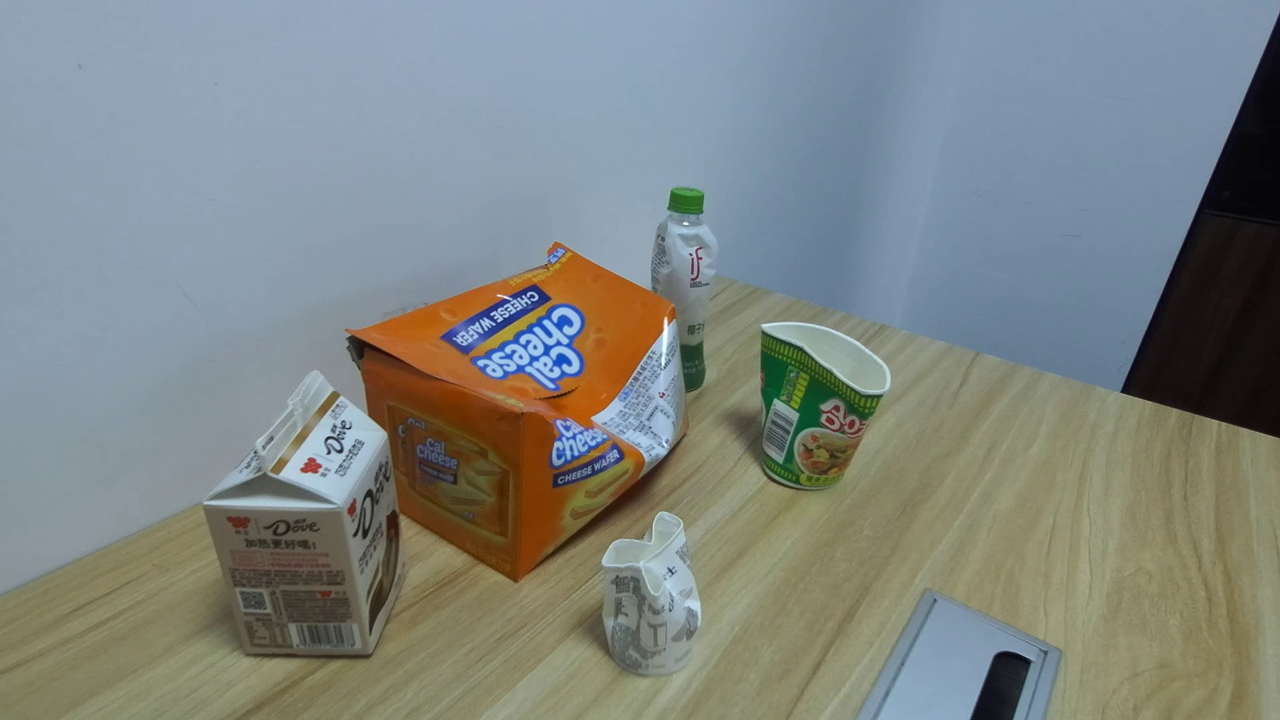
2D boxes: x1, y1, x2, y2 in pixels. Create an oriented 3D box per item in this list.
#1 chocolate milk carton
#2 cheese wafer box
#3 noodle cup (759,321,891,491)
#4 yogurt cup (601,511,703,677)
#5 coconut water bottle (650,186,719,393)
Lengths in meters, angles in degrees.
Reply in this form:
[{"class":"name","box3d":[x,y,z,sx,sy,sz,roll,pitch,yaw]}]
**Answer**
[{"class":"chocolate milk carton","box3d":[-0.184,0.086,0.397,0.074,0.148,0.075,2,26,-2]},{"class":"cheese wafer box","box3d":[-0.064,0.024,0.534,0.190,0.145,0.220,19,33,29]},{"class":"noodle cup","box3d":[0.135,0.039,0.552,0.070,0.111,0.114,-4,29,-9]},{"class":"yogurt cup","box3d":[0.006,0.134,0.406,0.055,0.072,0.055,23,36,36]},{"class":"coconut water bottle","box3d":[0.037,-0.065,0.659,0.067,0.187,0.067,2,25,-1]}]
